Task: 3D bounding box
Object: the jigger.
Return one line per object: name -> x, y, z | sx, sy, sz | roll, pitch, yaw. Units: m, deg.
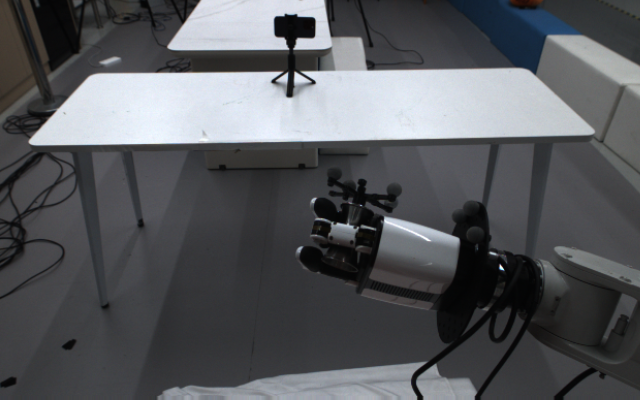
jigger -> 0.035, 0.042, 0.544 | 0.043, 0.043, 0.071 | 12, 71, 14
